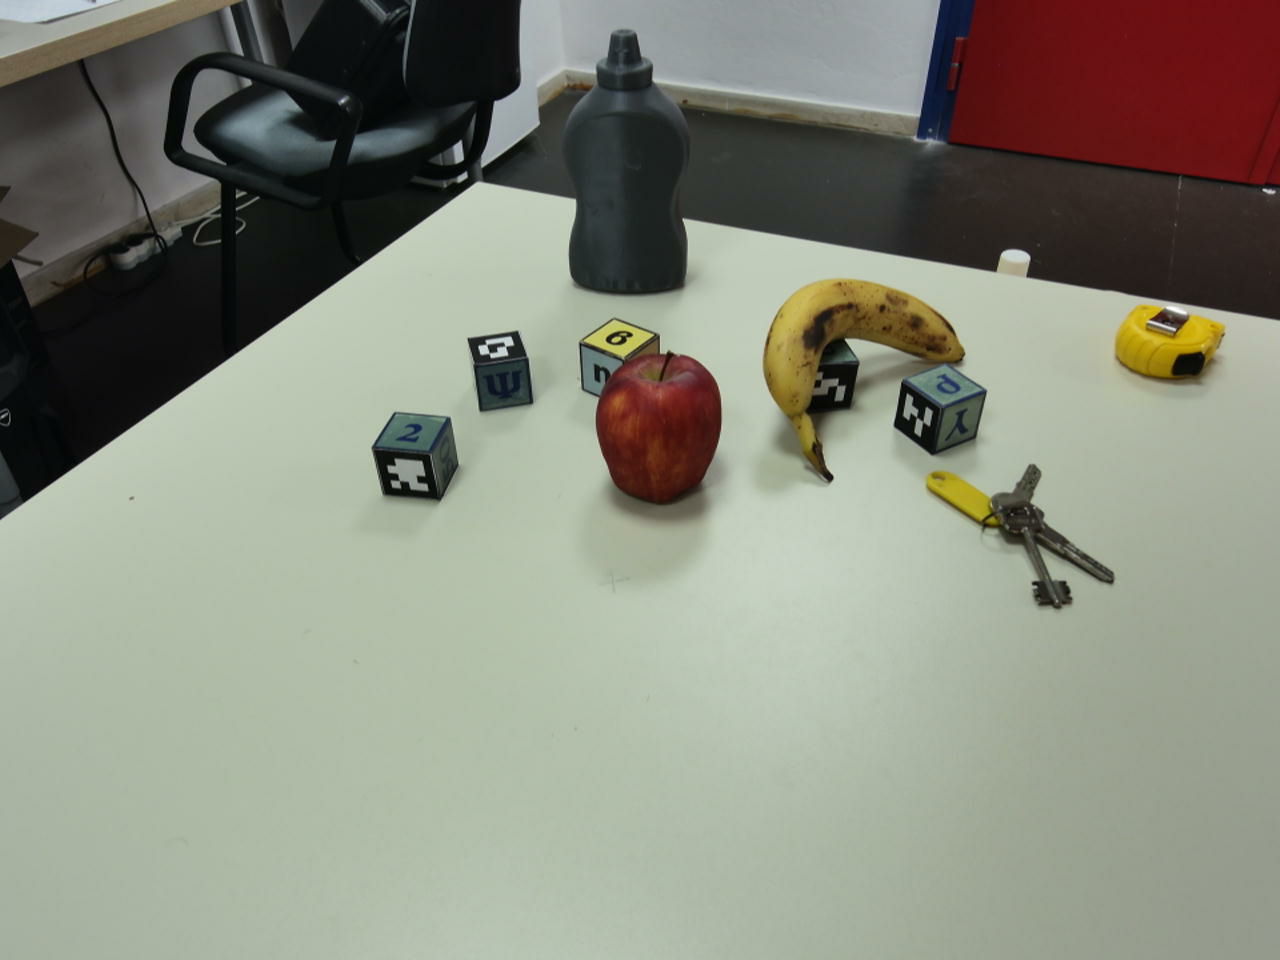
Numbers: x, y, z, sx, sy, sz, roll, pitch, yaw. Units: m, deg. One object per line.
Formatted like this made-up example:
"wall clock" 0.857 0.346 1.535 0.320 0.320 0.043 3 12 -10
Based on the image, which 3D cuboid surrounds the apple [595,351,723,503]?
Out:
"apple" 0.012 -0.037 0.590 0.083 0.090 0.083 -1 38 1
